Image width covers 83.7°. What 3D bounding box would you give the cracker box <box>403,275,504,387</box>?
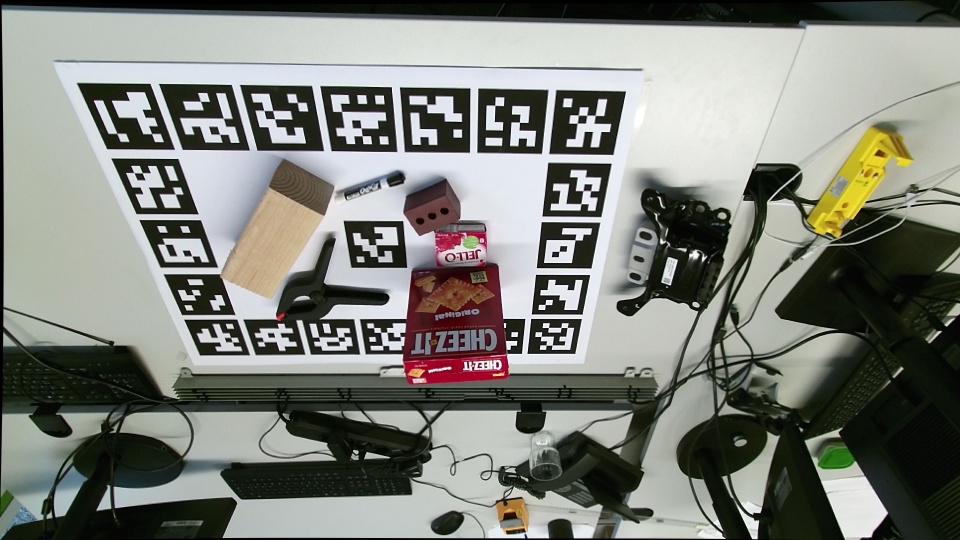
[{"bbox_3d":[-0.044,0.099,0.906,0.165,0.212,0.072,-2,126,1],"label":"cracker box"}]

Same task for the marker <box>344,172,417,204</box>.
[{"bbox_3d":[-0.159,-0.131,0.858,0.121,0.019,0.019,-17,123,9],"label":"marker"}]

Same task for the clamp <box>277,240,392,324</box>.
[{"bbox_3d":[-0.289,0.048,0.972,0.203,0.036,0.166,-26,122,15],"label":"clamp"}]

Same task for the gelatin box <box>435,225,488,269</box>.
[{"bbox_3d":[-0.031,-0.039,0.928,0.090,0.030,0.073,-1,124,-2],"label":"gelatin box"}]

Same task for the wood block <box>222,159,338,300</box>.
[{"bbox_3d":[-0.322,-0.060,0.864,0.090,0.090,0.206,29,122,-24],"label":"wood block"}]

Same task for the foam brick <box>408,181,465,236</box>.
[{"bbox_3d":[-0.069,-0.098,0.868,0.078,0.051,0.053,-21,122,11],"label":"foam brick"}]
